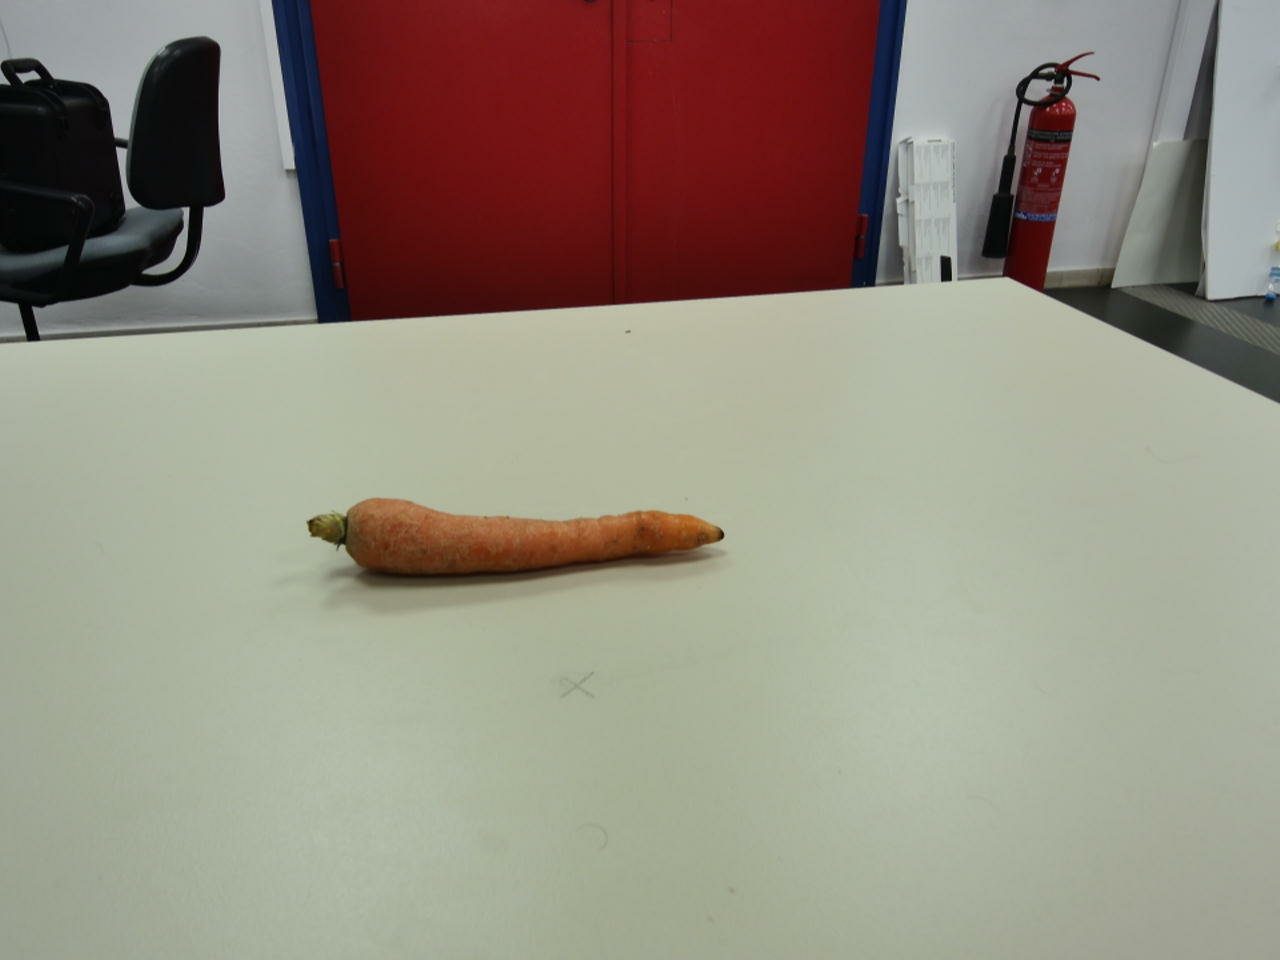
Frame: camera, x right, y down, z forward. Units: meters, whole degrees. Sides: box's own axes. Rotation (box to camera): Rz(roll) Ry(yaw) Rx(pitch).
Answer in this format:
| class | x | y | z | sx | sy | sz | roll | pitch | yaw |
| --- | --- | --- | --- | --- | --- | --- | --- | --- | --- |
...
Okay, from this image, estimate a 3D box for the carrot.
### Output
| class | x | y | z | sx | sy | sz | roll | pitch | yaw |
| --- | --- | --- | --- | --- | --- | --- | --- | --- | --- |
| carrot | -0.048 | 0.022 | 0.417 | 0.173 | 0.032 | 0.030 | -2 | 24 | -4 |
